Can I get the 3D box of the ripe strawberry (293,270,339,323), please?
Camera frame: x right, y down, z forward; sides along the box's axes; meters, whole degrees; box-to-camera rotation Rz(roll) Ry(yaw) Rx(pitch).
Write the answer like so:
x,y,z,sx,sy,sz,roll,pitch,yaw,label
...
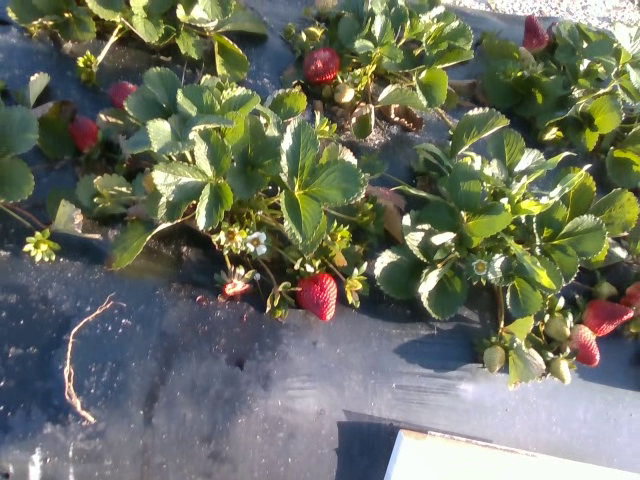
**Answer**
x,y,z,sx,sy,sz,roll,pitch,yaw,label
0.000,0.062,0.593,0.052,0.041,0.051,-16,46,-3,ripe strawberry
